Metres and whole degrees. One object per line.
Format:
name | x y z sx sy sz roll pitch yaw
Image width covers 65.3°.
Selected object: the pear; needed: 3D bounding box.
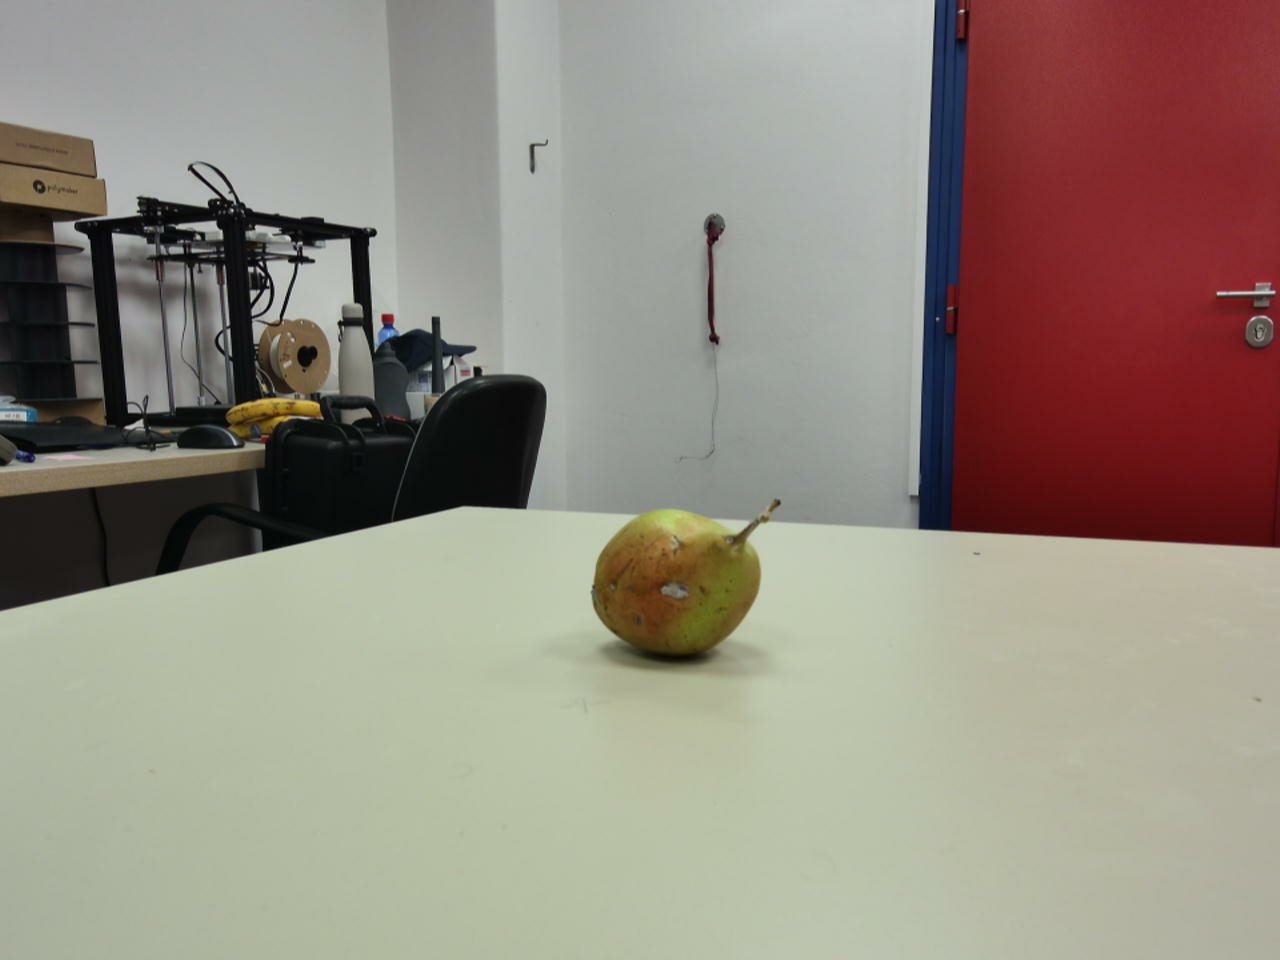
pear | 0.015 0.041 0.431 0.068 0.069 0.070 0 4 -14
